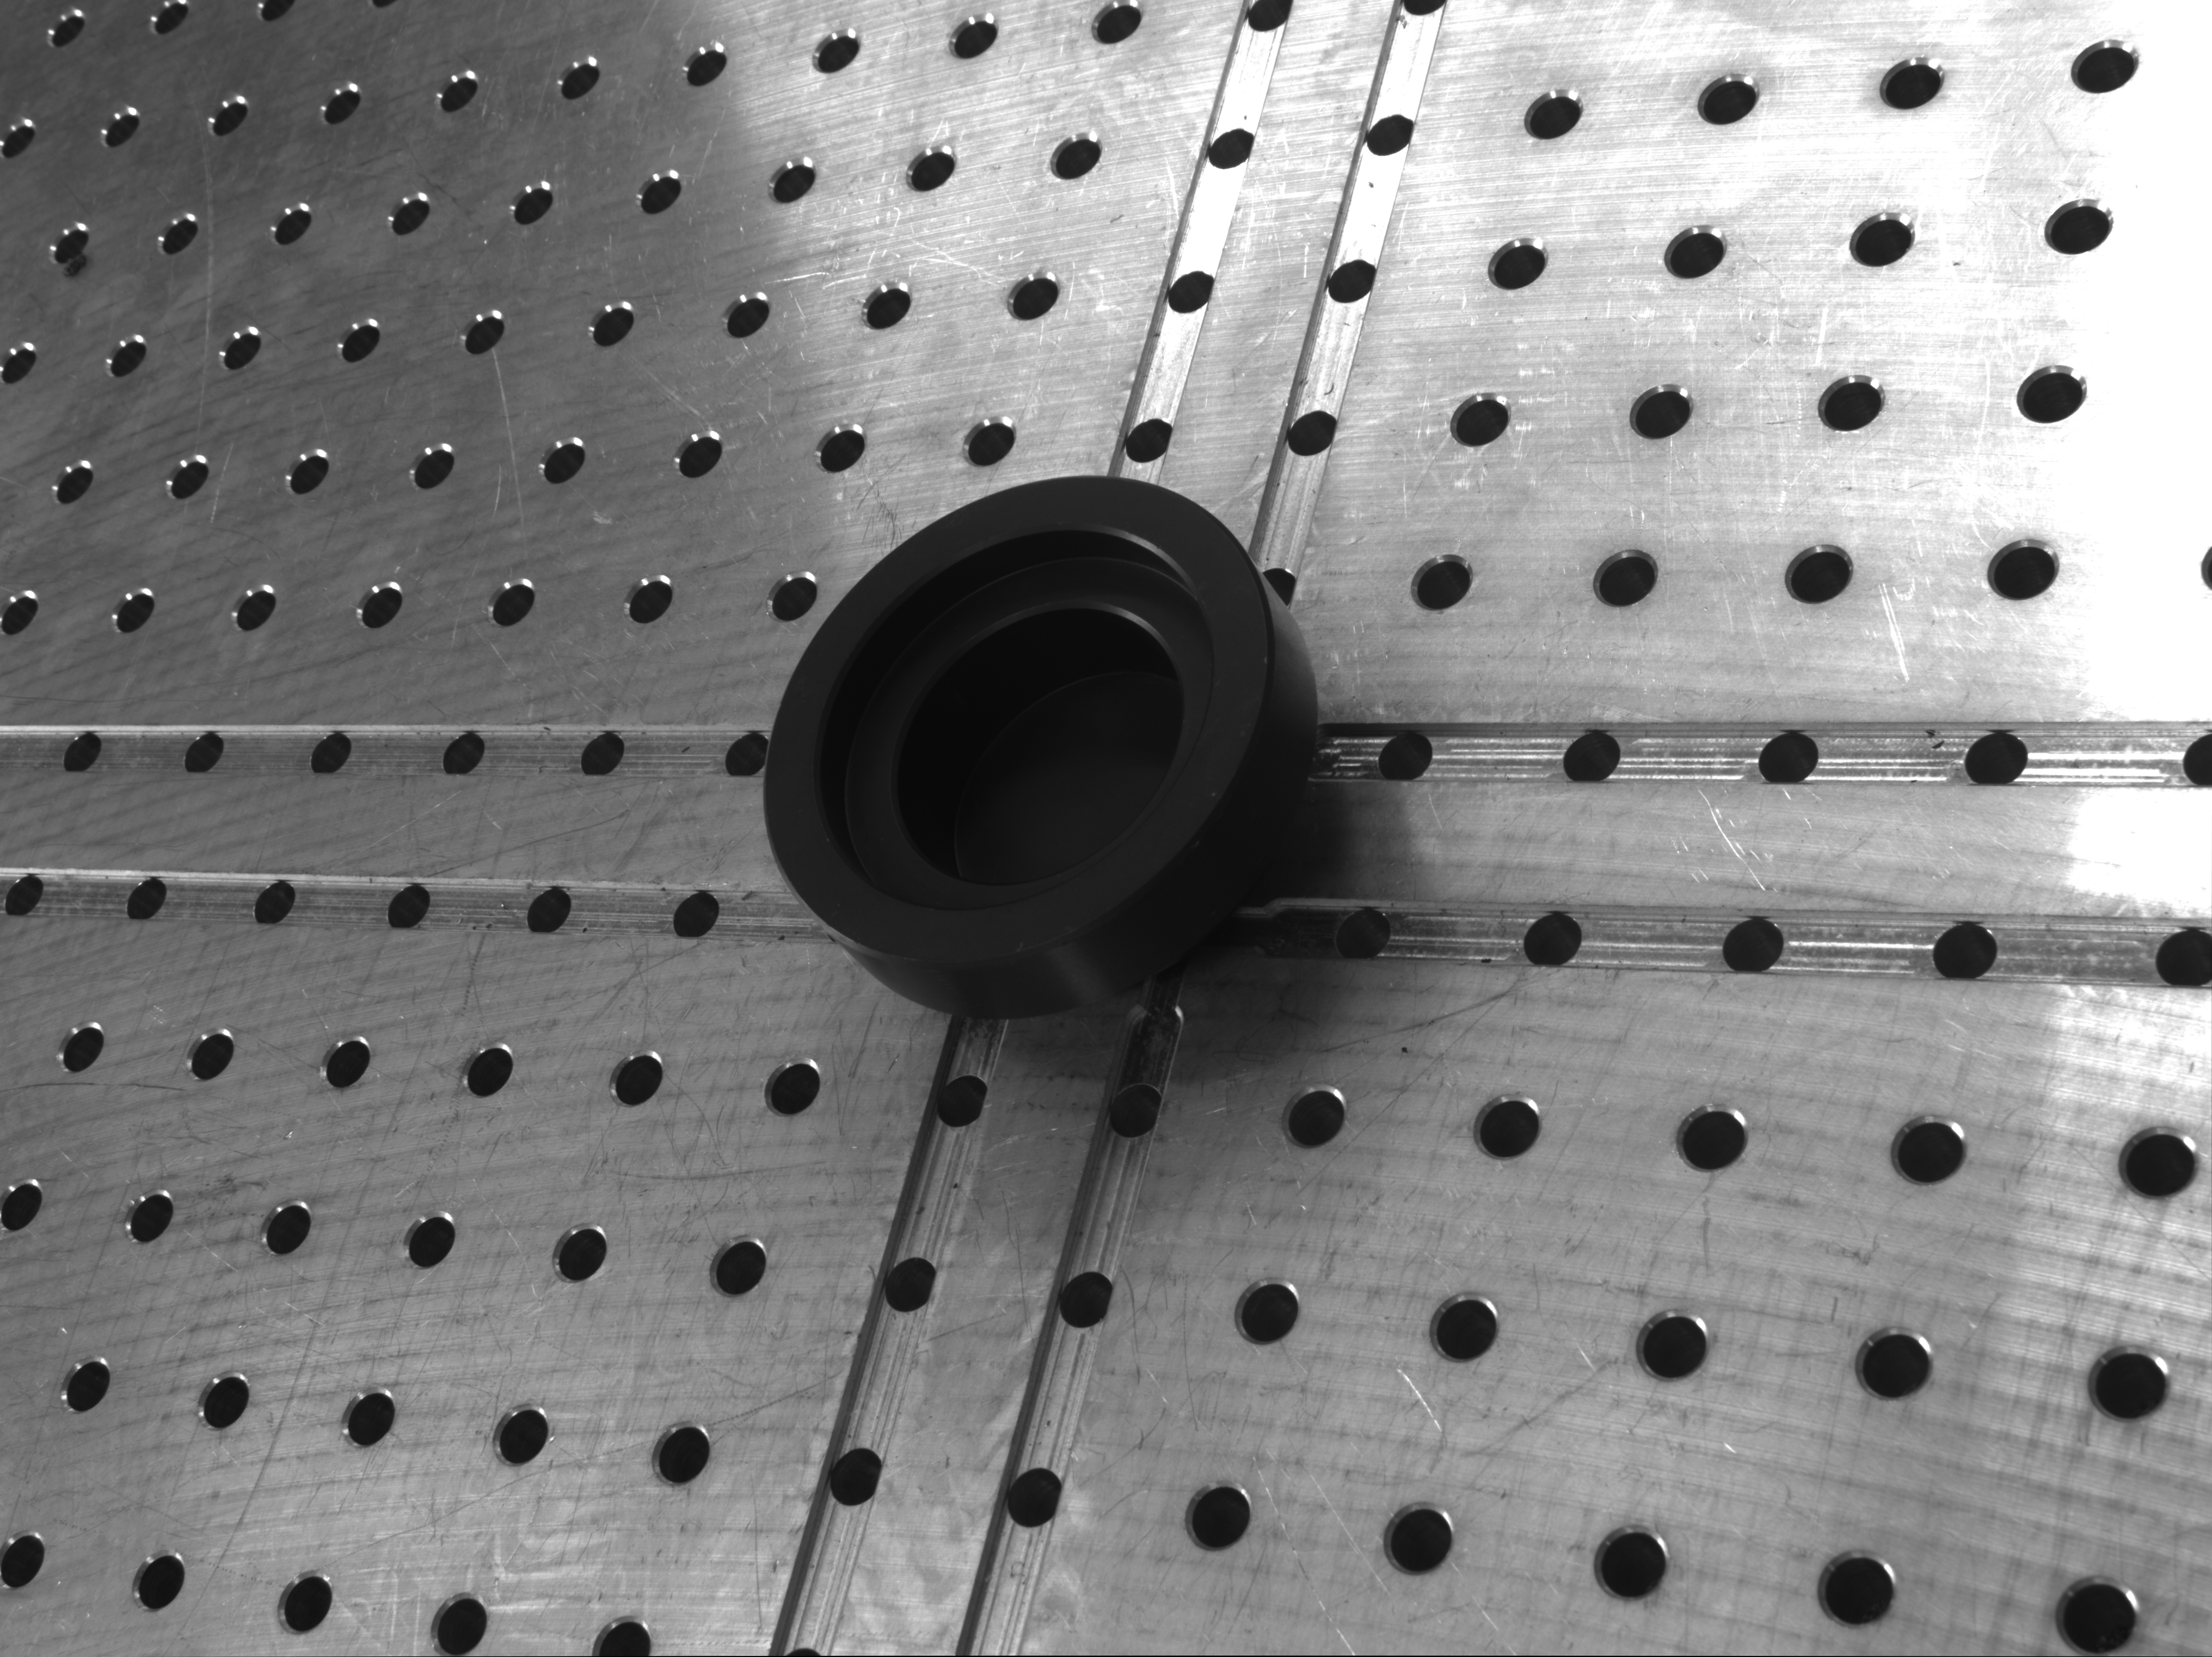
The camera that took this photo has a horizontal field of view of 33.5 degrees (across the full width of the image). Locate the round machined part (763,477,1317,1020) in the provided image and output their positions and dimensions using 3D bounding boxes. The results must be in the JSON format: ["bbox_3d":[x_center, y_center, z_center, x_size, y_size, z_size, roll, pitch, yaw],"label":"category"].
[{"bbox_3d":[-0.008,-0.010,0.647,0.098,0.042,0.098,-14,56,21],"label":"round machined part"}]
